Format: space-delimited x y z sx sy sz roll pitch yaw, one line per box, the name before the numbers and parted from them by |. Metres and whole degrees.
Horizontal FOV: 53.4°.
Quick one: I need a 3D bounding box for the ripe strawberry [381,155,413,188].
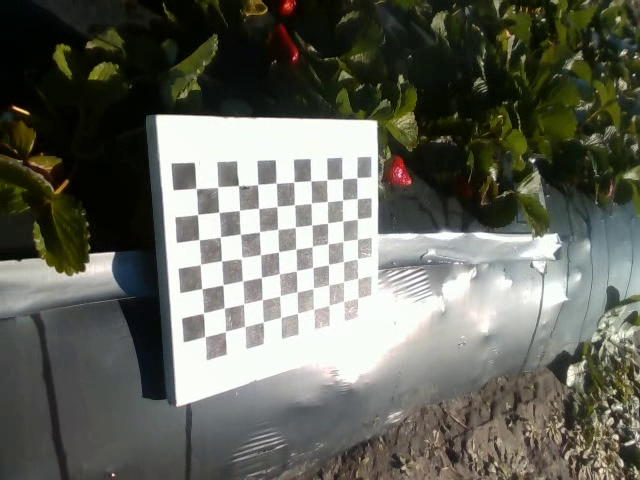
ripe strawberry | 0.109 -0.092 0.861 0.029 0.048 0.055 9 -31 48
